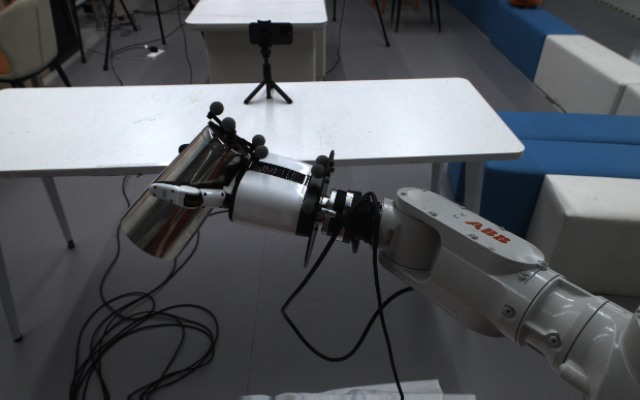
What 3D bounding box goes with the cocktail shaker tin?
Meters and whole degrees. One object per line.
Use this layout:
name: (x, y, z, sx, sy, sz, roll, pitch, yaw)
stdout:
cocktail shaker tin: (-0.171, -0.017, 0.635, 0.093, 0.170, 0.093, 41, 13, -11)
